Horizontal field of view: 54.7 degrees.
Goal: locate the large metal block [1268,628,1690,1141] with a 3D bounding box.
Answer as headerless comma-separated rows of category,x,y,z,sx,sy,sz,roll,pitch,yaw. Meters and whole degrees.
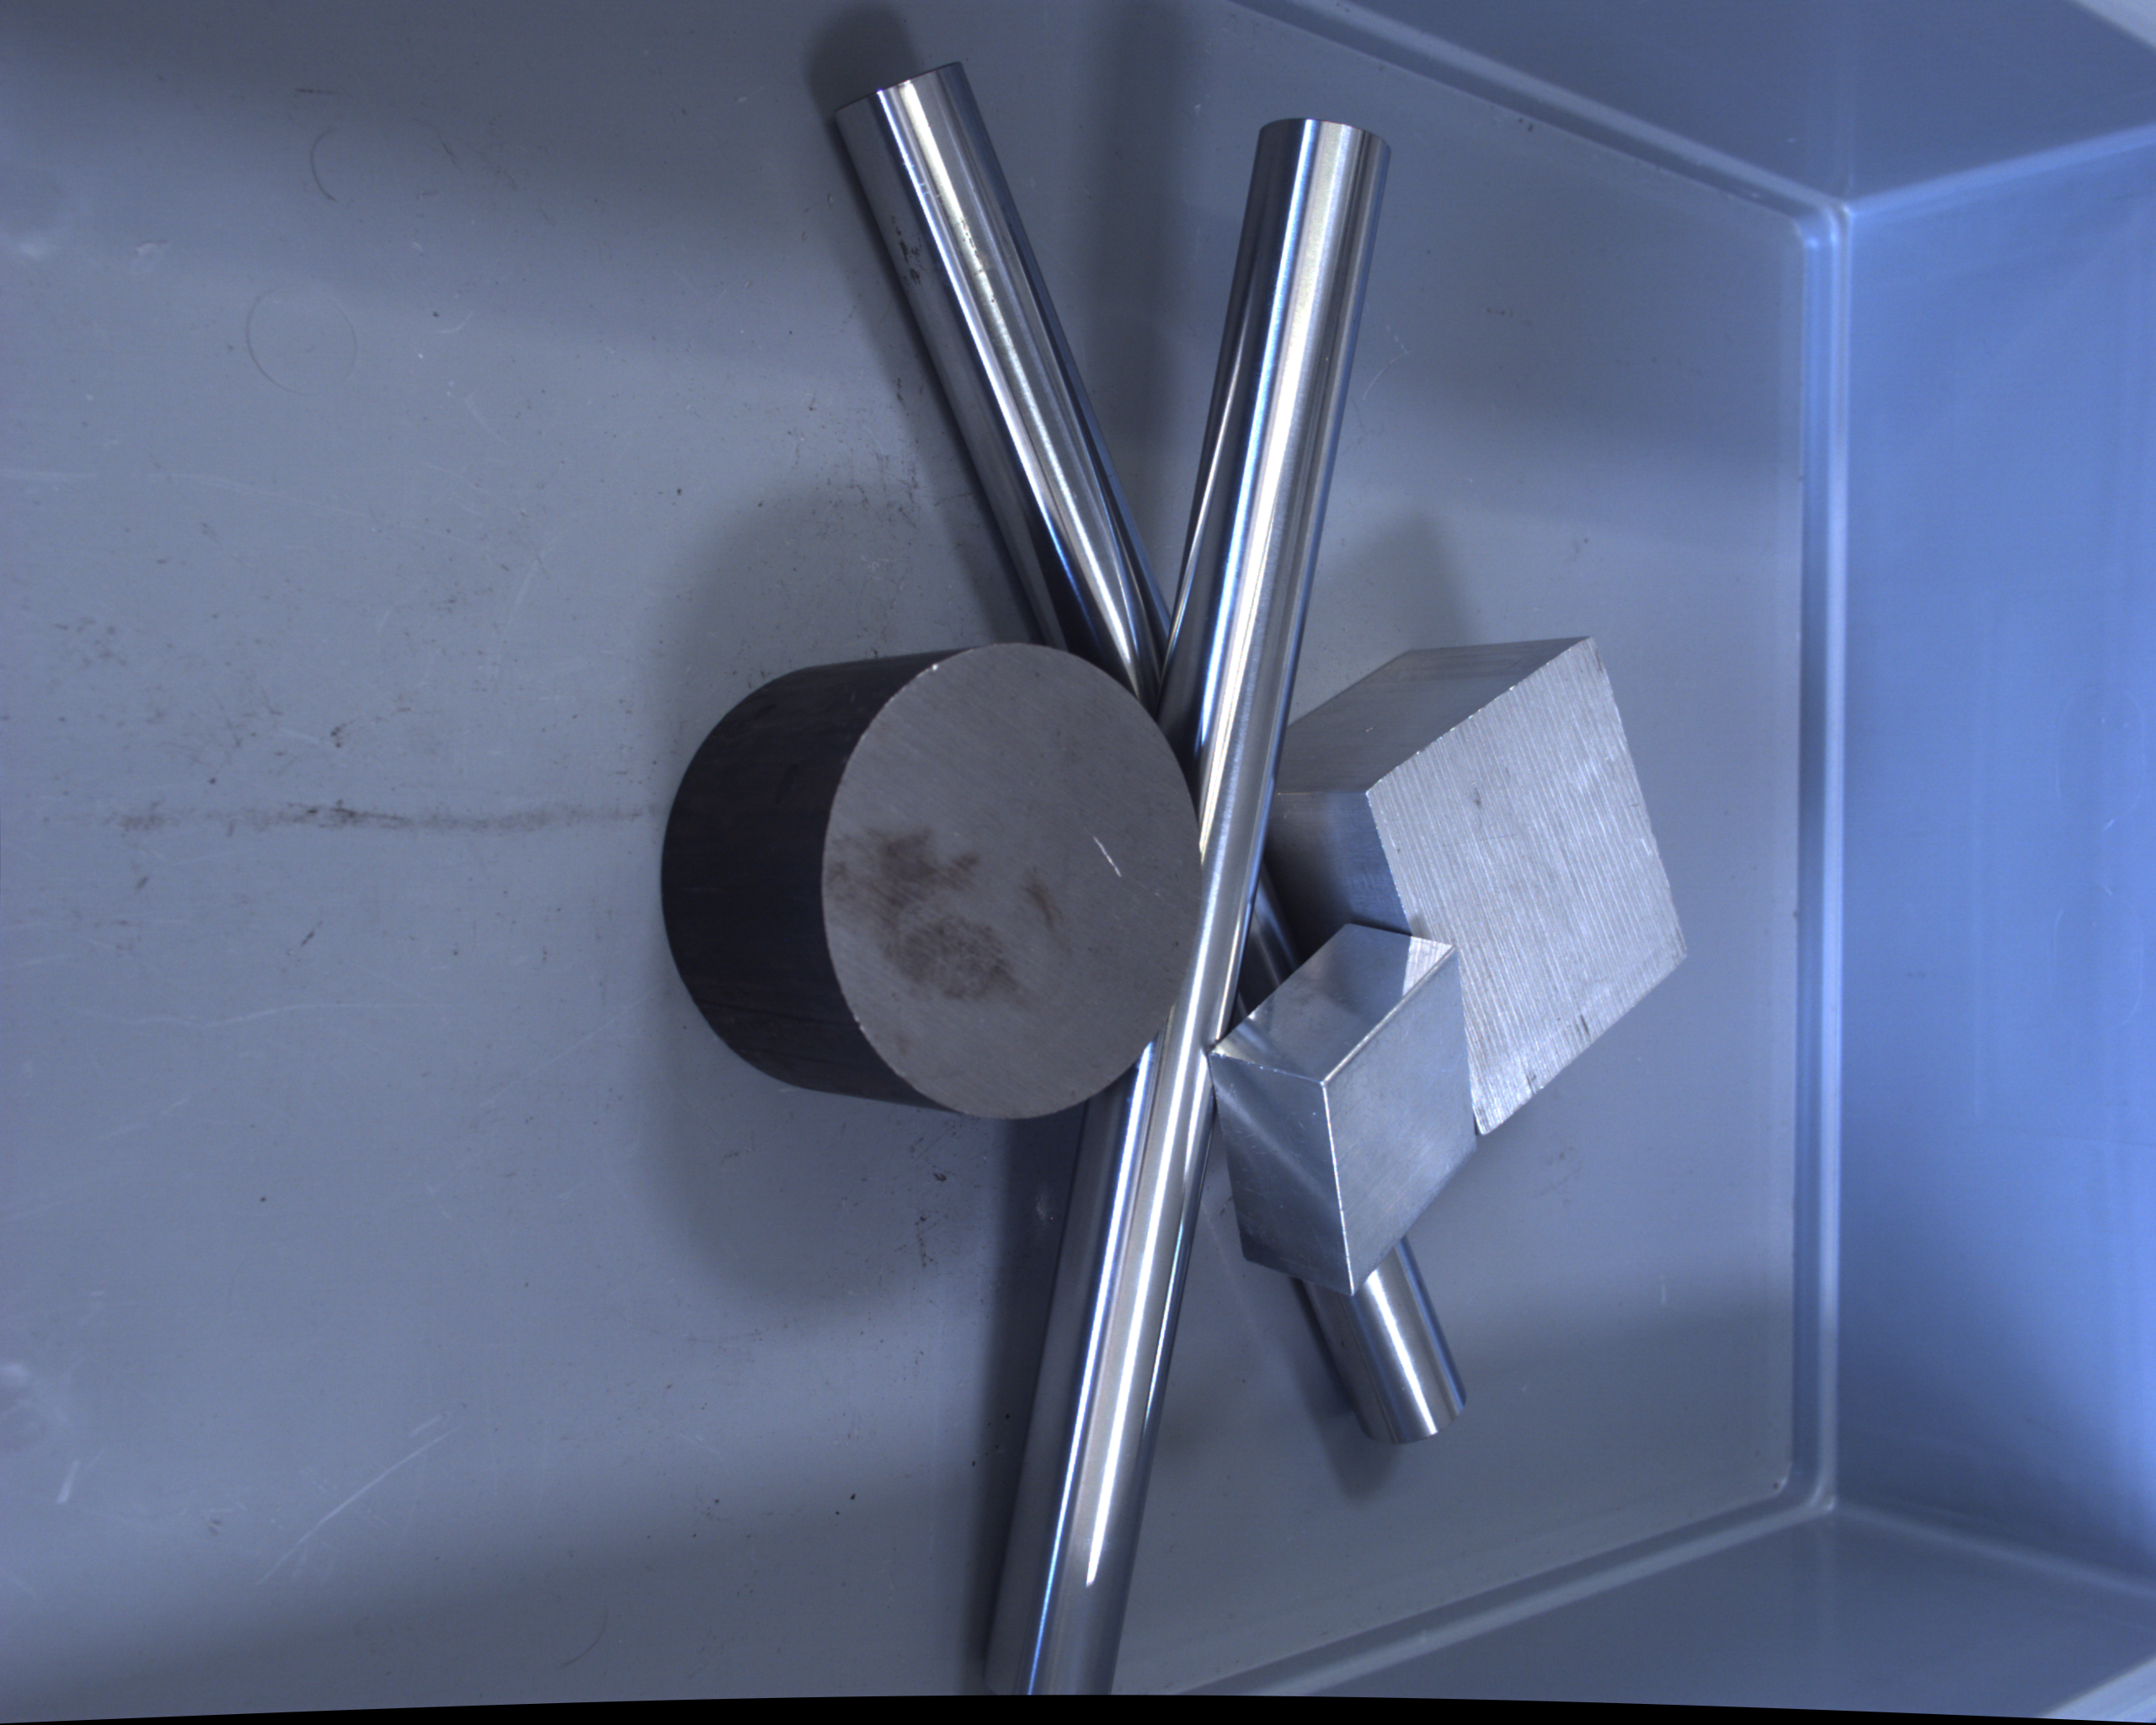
large metal block,0.081,0.003,0.455,0.081,0.050,0.080,-34,111,-35

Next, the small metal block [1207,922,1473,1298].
small metal block,0.053,0.047,0.408,0.050,0.025,0.050,-39,129,-42

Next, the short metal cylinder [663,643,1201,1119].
short metal cylinder,-0.025,0.003,0.368,0.081,0.050,0.079,0,90,-41

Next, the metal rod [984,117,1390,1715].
metal rod,0.020,0.011,0.396,0.025,0.025,0.298,8,93,-40

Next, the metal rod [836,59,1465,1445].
metal rod,0.021,-0.009,0.422,0.025,0.025,0.299,-35,112,-34
